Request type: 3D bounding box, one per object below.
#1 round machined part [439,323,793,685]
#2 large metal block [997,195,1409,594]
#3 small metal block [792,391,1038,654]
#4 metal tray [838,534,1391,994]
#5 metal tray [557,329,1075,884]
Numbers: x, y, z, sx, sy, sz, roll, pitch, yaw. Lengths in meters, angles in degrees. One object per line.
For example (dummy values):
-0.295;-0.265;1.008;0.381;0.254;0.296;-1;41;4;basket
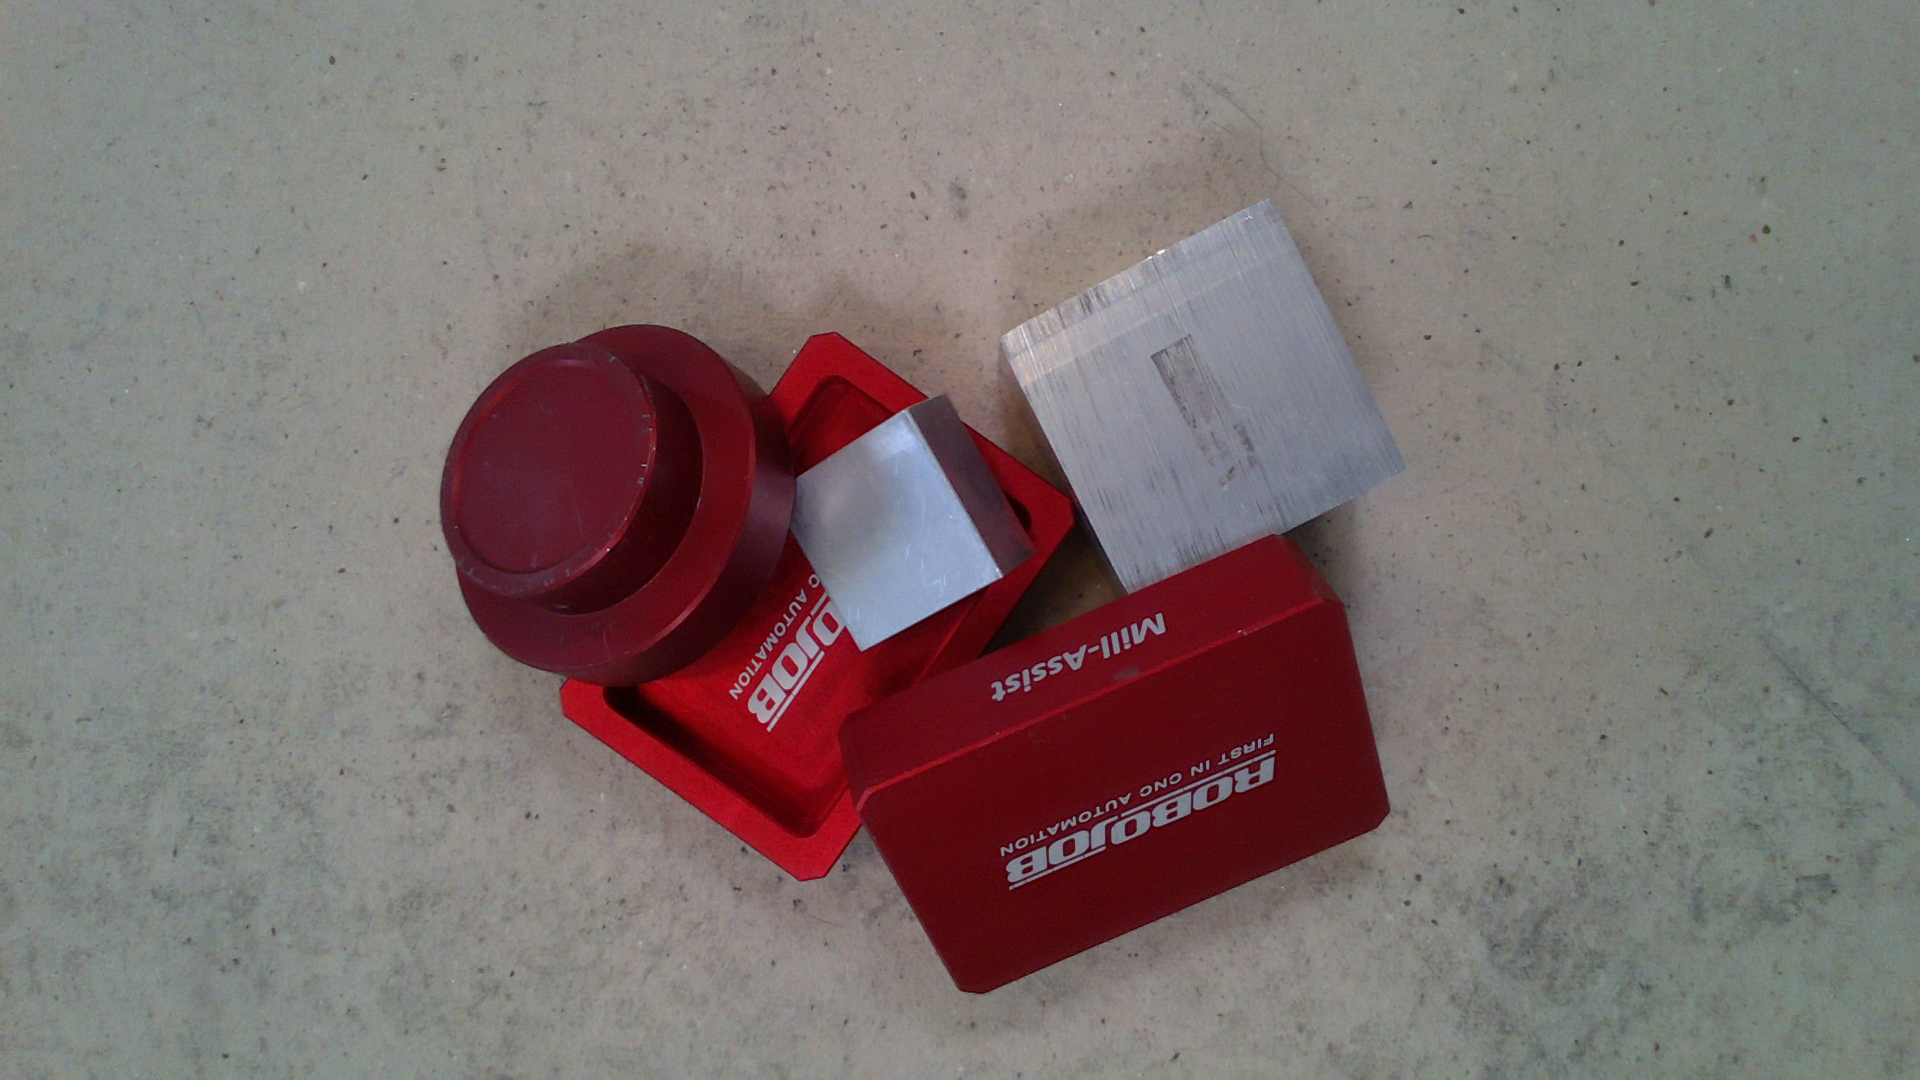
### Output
-0.097;-0.013;0.365;0.098;0.042;0.098;-8;70;23;round machined part
0.063;-0.036;0.383;0.080;0.050;0.080;-27;90;0;large metal block
-0.016;-0.005;0.372;0.050;0.025;0.050;-29;93;28;small metal block
0.044;0.063;0.370;0.130;0.030;0.090;-23;126;0;metal tray
-0.039;0.018;0.392;0.090;0.030;0.130;35;90;0;metal tray
